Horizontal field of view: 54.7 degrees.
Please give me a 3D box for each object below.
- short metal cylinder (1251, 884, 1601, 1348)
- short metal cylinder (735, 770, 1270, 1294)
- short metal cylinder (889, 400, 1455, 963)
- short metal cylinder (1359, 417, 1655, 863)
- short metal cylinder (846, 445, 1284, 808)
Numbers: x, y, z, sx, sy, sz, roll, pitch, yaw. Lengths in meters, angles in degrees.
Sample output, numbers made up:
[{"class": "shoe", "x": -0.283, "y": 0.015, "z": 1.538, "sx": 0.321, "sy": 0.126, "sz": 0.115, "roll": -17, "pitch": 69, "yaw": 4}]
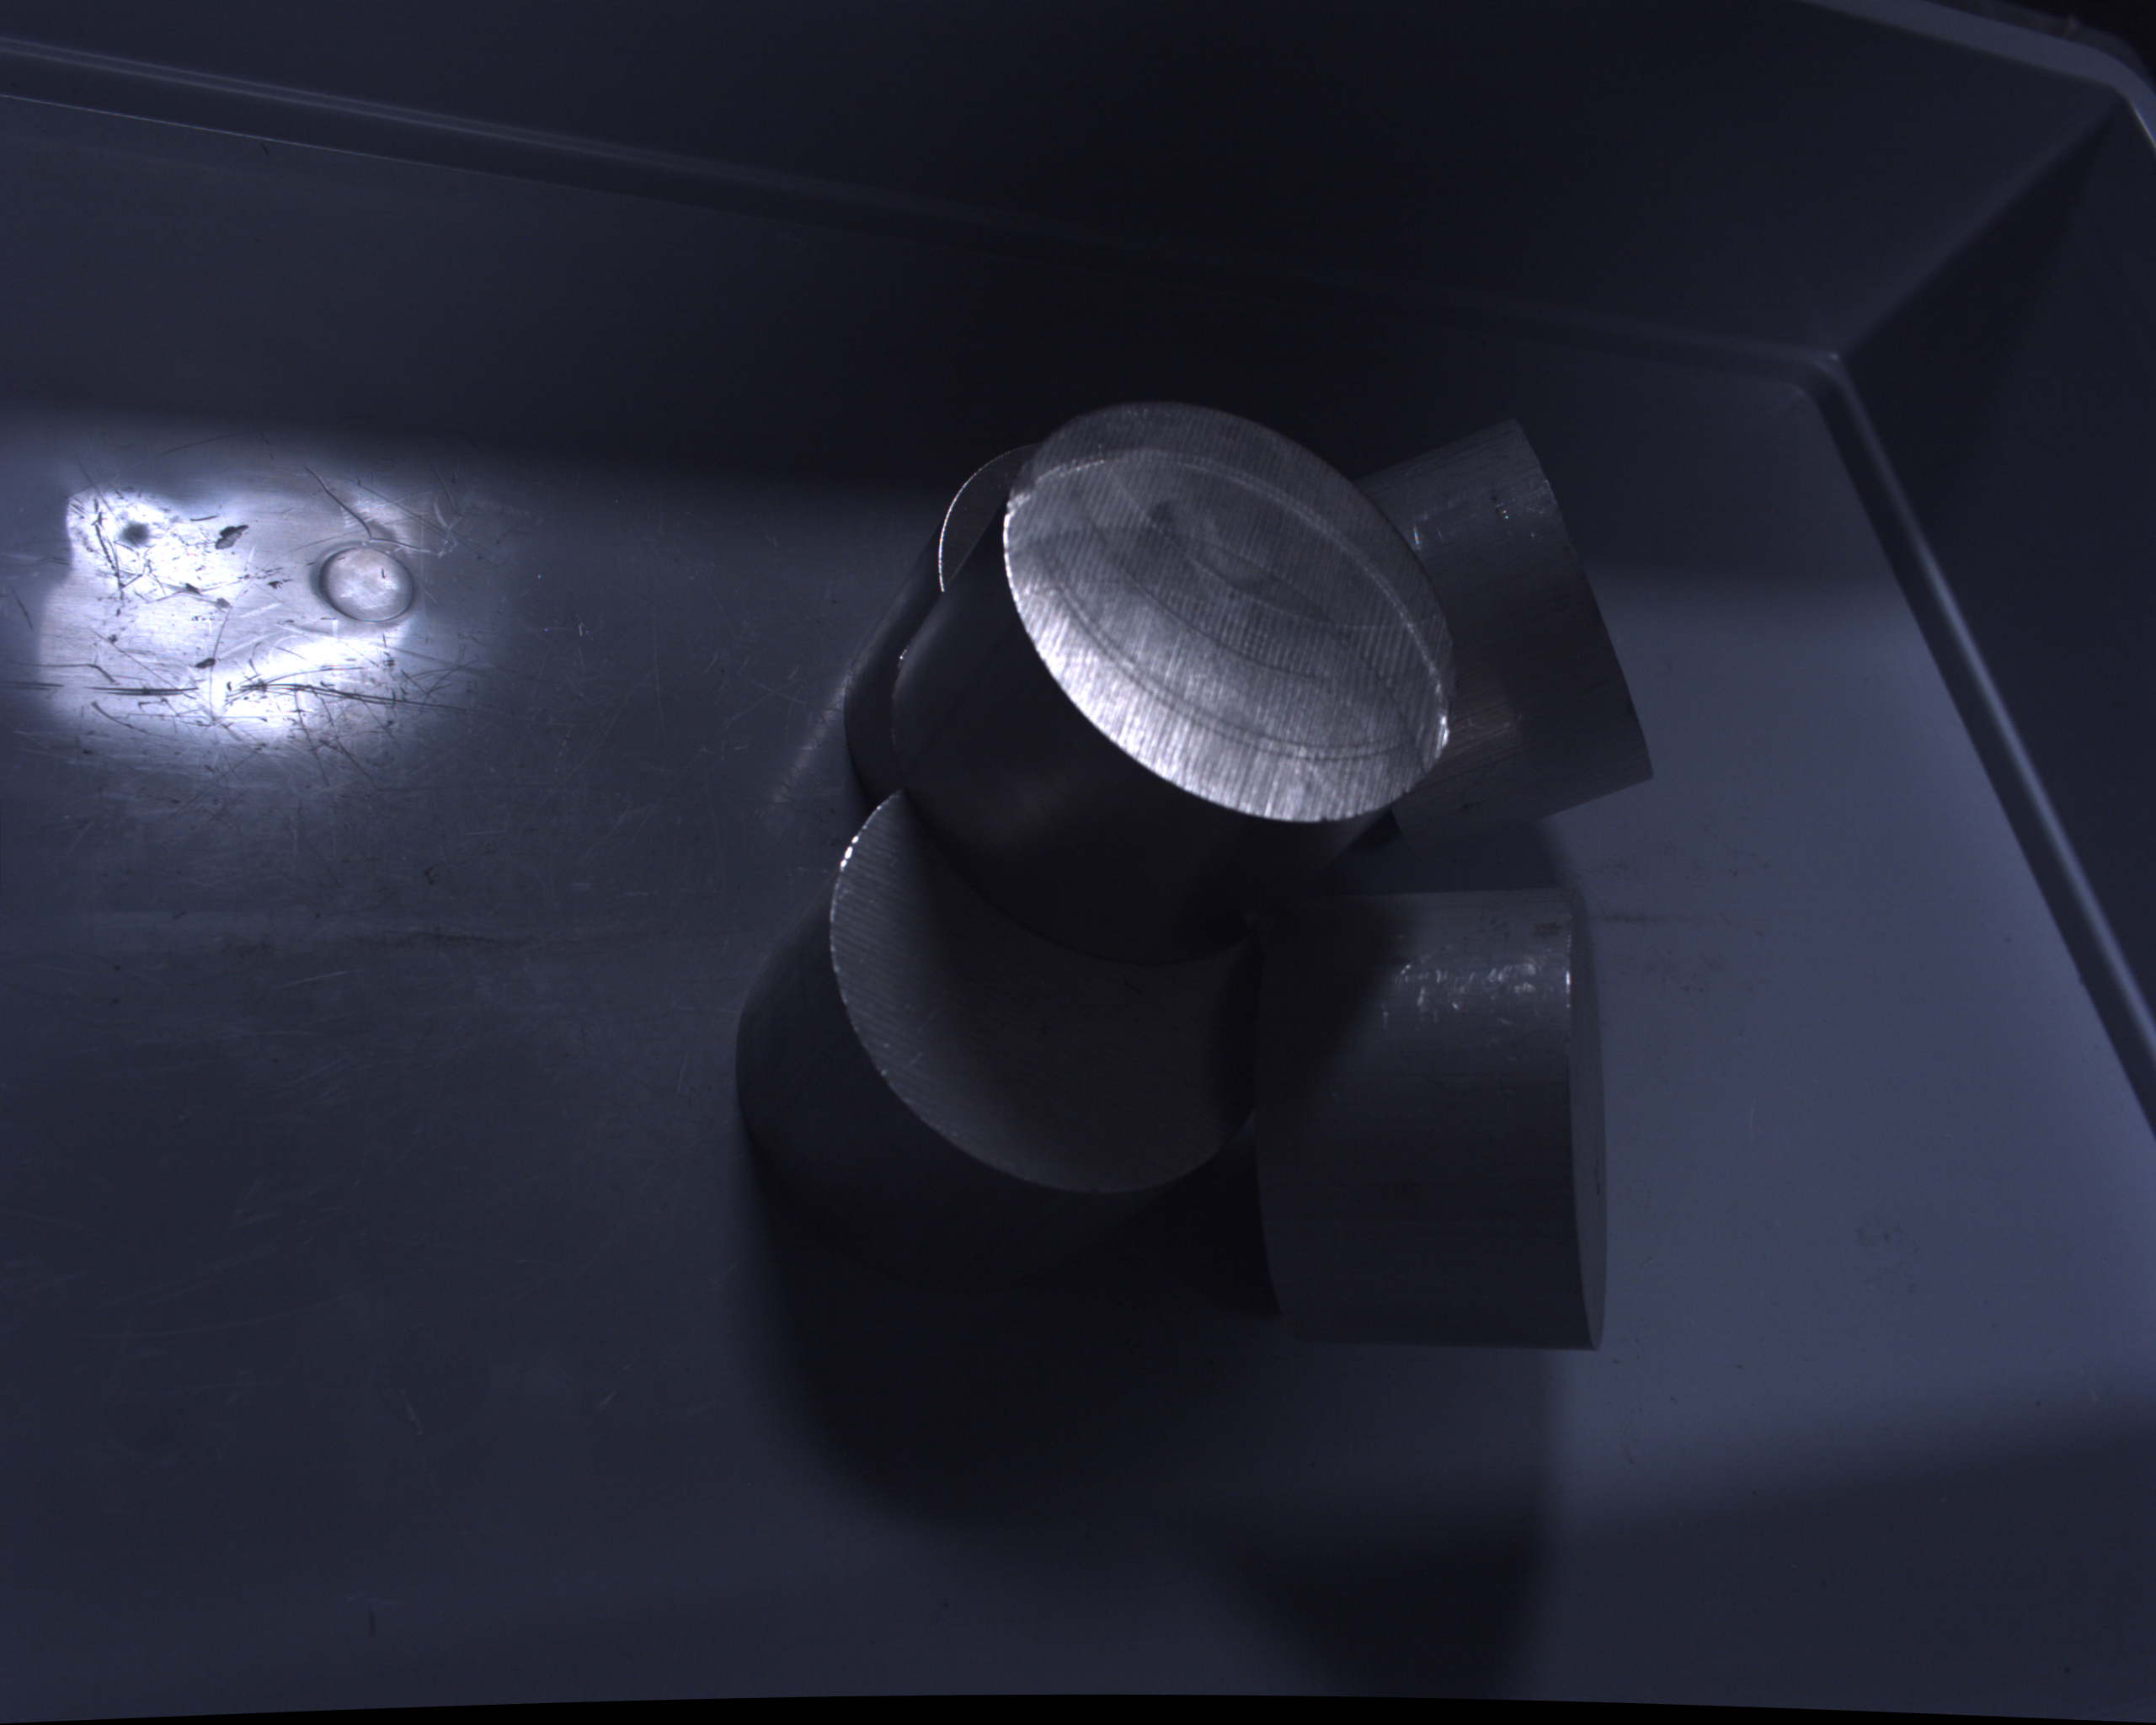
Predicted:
[{"class": "short metal cylinder", "x": 0.064, "y": 0.044, "z": 0.369, "sx": 0.050, "sy": 0.080, "sz": 0.080, "roll": -2, "pitch": 53, "yaw": 17}, {"class": "short metal cylinder", "x": -0.013, "y": 0.029, "z": 0.365, "sx": 0.081, "sy": 0.050, "sz": 0.080, "roll": 14, "pitch": 56, "yaw": -21}, {"class": "short metal cylinder", "x": 0.015, "y": -0.030, "z": 0.349, "sx": 0.081, "sy": 0.050, "sz": 0.080, "roll": 14, "pitch": 56, "yaw": -21}, {"class": "short metal cylinder", "x": 0.081, "y": -0.046, "z": 0.435, "sx": 0.080, "sy": 0.050, "sz": 0.080, "roll": -22, "pitch": 90, "yaw": -78}, {"class": "short metal cylinder", "x": 0.001, "y": -0.035, "z": 0.411, "sx": 0.081, "sy": 0.050, "sz": 0.080, "roll": 14, "pitch": 56, "yaw": -21}]
